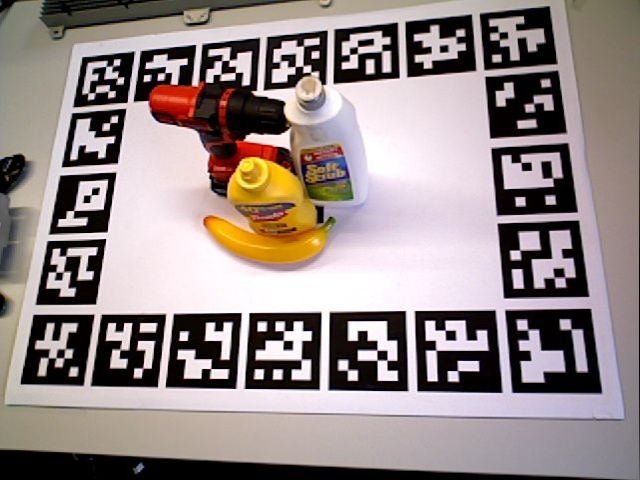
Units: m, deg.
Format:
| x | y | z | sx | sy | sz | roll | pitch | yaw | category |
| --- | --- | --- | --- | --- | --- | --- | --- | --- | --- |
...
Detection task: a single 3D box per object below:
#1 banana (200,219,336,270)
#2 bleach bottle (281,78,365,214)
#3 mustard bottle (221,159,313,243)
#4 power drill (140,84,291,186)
| x | y | z | sx | sy | sz | roll | pitch | yaw | category |
| --- | --- | --- | --- | --- | --- | --- | --- | --- | --- |
| -0.077 | 0.004 | 0.752 | 0.198 | 0.039 | 0.074 | 3 | 75 | 15 | banana |
| -0.003 | -0.116 | 0.656 | 0.103 | 0.253 | 0.067 | 2 | 66 | 11 | bleach bottle |
| -0.070 | -0.052 | 0.675 | 0.096 | 0.193 | 0.058 | 0 | 72 | 9 | mustard bottle |
| -0.110 | -0.125 | 0.684 | 0.185 | 0.188 | 0.057 | 11 | 73 | 12 | power drill |
